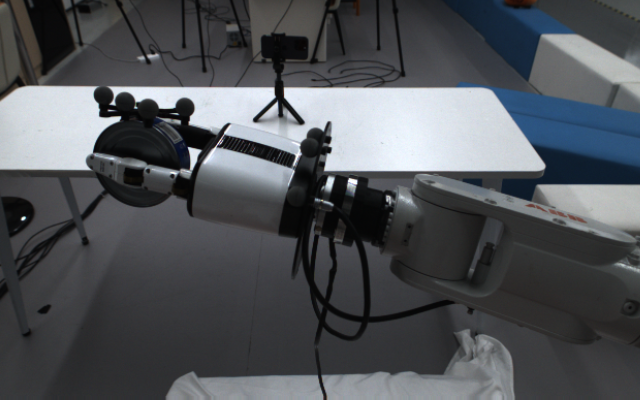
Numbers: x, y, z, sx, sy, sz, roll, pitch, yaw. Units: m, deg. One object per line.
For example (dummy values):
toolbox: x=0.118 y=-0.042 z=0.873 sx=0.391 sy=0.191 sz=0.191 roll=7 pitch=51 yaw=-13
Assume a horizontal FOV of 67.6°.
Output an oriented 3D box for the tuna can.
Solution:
tuna can: x=-0.172 y=-0.038 z=0.475 sx=0.085 sy=0.085 sz=0.034 roll=5 pitch=17 yaw=5
